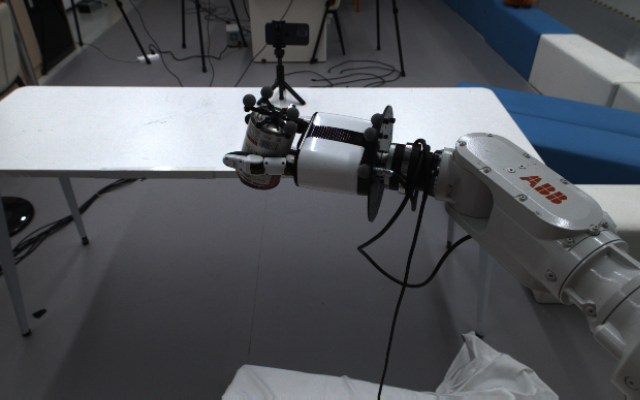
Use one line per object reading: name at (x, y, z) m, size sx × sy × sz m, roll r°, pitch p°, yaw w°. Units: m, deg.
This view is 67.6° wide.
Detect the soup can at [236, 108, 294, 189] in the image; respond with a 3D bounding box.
soup can at (-0.077, -0.073, 0.688) m, size 0.067 × 0.101 × 0.067 m, roll 14°, pitch 40°, yaw -12°
